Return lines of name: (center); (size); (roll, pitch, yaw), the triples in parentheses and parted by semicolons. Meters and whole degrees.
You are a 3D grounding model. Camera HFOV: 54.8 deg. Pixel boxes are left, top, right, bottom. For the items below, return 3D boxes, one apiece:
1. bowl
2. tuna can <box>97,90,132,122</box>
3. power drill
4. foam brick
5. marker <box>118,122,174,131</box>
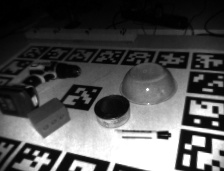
bowl: (0.093, -0.030, 0.614); (0.161, 0.055, 0.161); (-7, 30, 5)
tuna can: (0.008, 0.048, 0.535); (0.085, 0.034, 0.085); (-4, 39, 4)
power drill: (-0.224, -0.005, 0.644); (0.183, 0.058, 0.187); (6, 38, 15)
foam brick: (-0.147, 0.076, 0.531); (0.050, 0.053, 0.078); (24, 51, 34)
marker: (0.075, 0.091, 0.475); (0.120, 0.020, 0.019); (-2, 40, 9)
